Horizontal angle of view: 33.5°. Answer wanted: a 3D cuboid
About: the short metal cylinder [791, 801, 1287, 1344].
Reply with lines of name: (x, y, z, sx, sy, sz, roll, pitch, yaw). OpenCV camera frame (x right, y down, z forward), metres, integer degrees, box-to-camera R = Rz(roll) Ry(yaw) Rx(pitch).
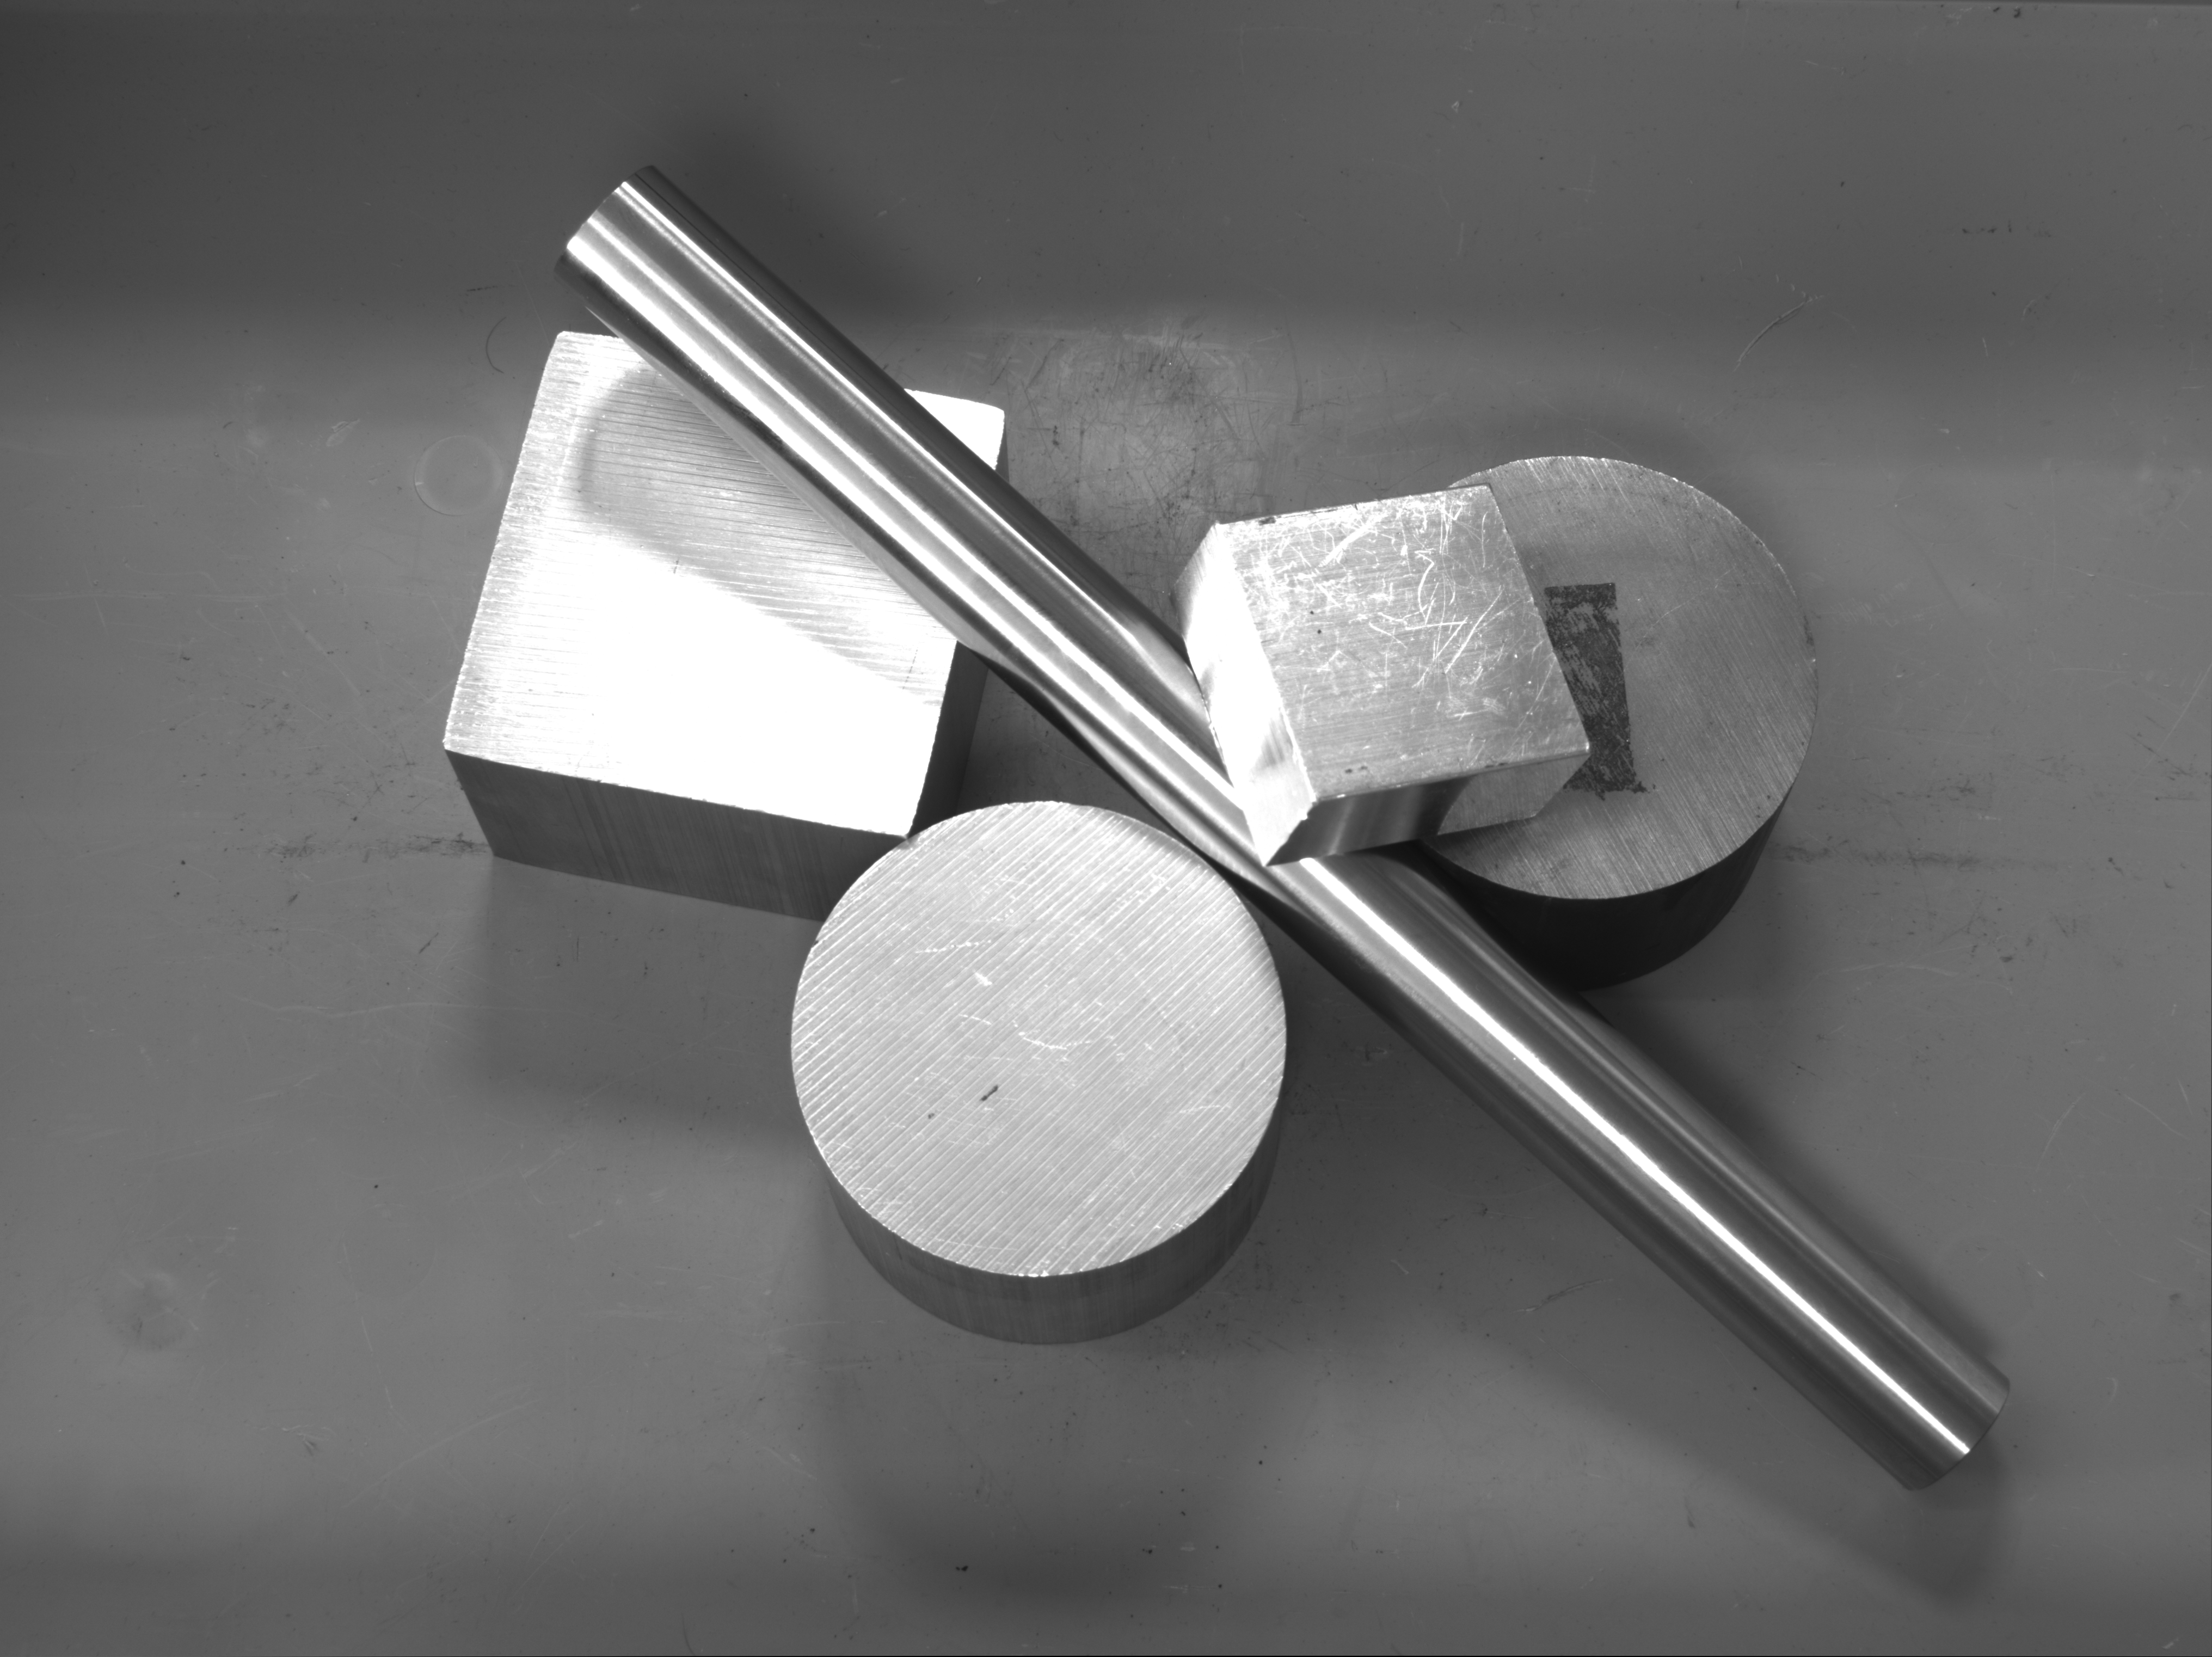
short metal cylinder: (-0.011, 0.042, 0.615, 0.080, 0.050, 0.080, 0, 70, 0)

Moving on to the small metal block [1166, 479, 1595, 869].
small metal block: (0.044, -0.025, 0.593, 0.050, 0.025, 0.050, -11, 69, -23)

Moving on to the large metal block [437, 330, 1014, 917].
large metal block: (-0.063, -0.033, 0.641, 0.080, 0.050, 0.080, 10, 70, 4)

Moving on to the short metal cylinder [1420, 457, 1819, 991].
short metal cylinder: (0.079, -0.017, 0.637, 0.080, 0.050, 0.080, 0, 70, 0)

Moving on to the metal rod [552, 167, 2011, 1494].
metal rod: (0.029, 0.001, 0.606, 0.300, 0.025, 0.025, 42, 75, -1)
